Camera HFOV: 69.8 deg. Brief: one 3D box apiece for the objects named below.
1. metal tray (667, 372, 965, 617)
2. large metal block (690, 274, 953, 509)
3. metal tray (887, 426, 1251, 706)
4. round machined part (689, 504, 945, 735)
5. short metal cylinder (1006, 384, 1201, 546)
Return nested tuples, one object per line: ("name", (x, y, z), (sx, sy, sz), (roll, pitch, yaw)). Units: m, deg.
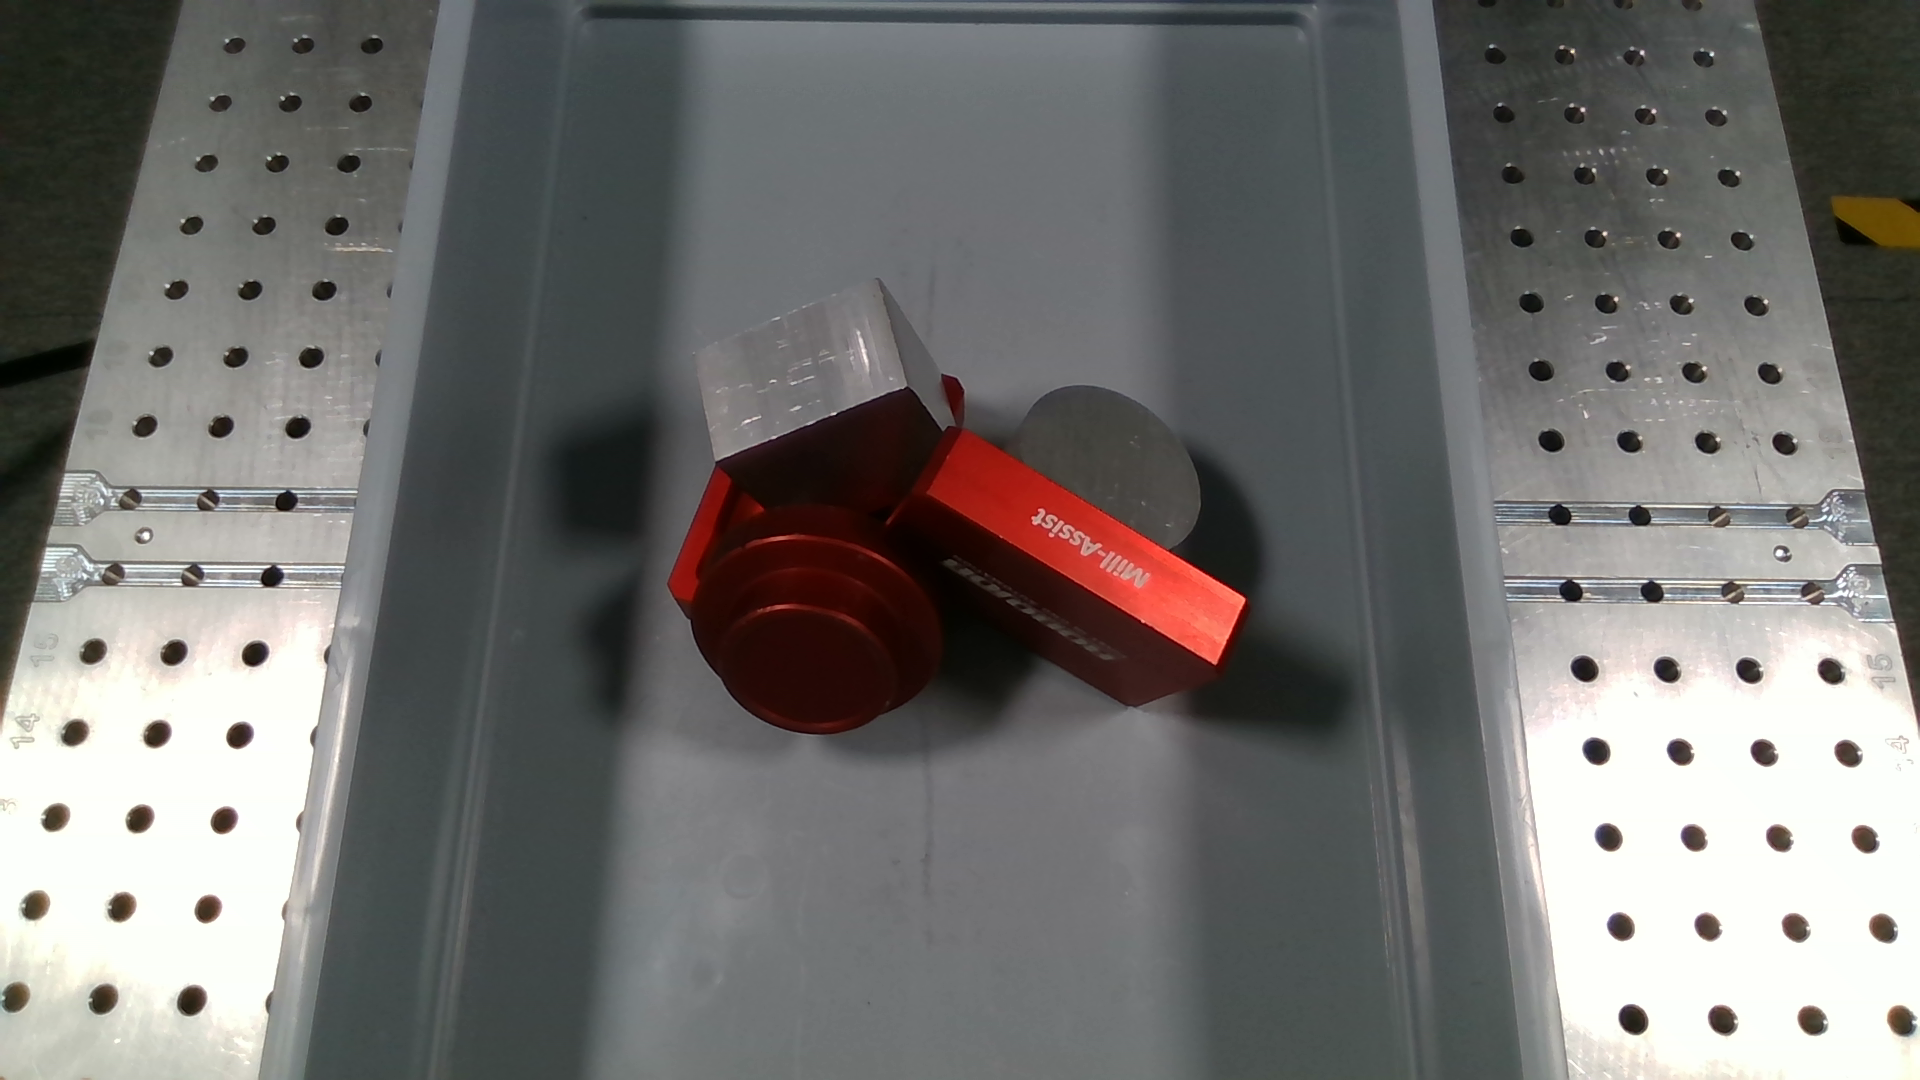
("metal tray", (-0.059, -0.019, 0.590), (0.090, 0.030, 0.130), (16, 71, 6))
("large metal block", (-0.049, -0.050, 0.551), (0.080, 0.080, 0.050), (-21, 64, 9))
("metal tray", (0.034, 0.014, 0.531), (0.130, 0.090, 0.030), (30, 69, -6))
("round machined part", (-0.056, 0.037, 0.531), (0.098, 0.098, 0.042), (5, 40, 2))
("short metal cylinder", (0.051, -0.017, 0.564), (0.080, 0.050, 0.080), (13, 56, -19))
